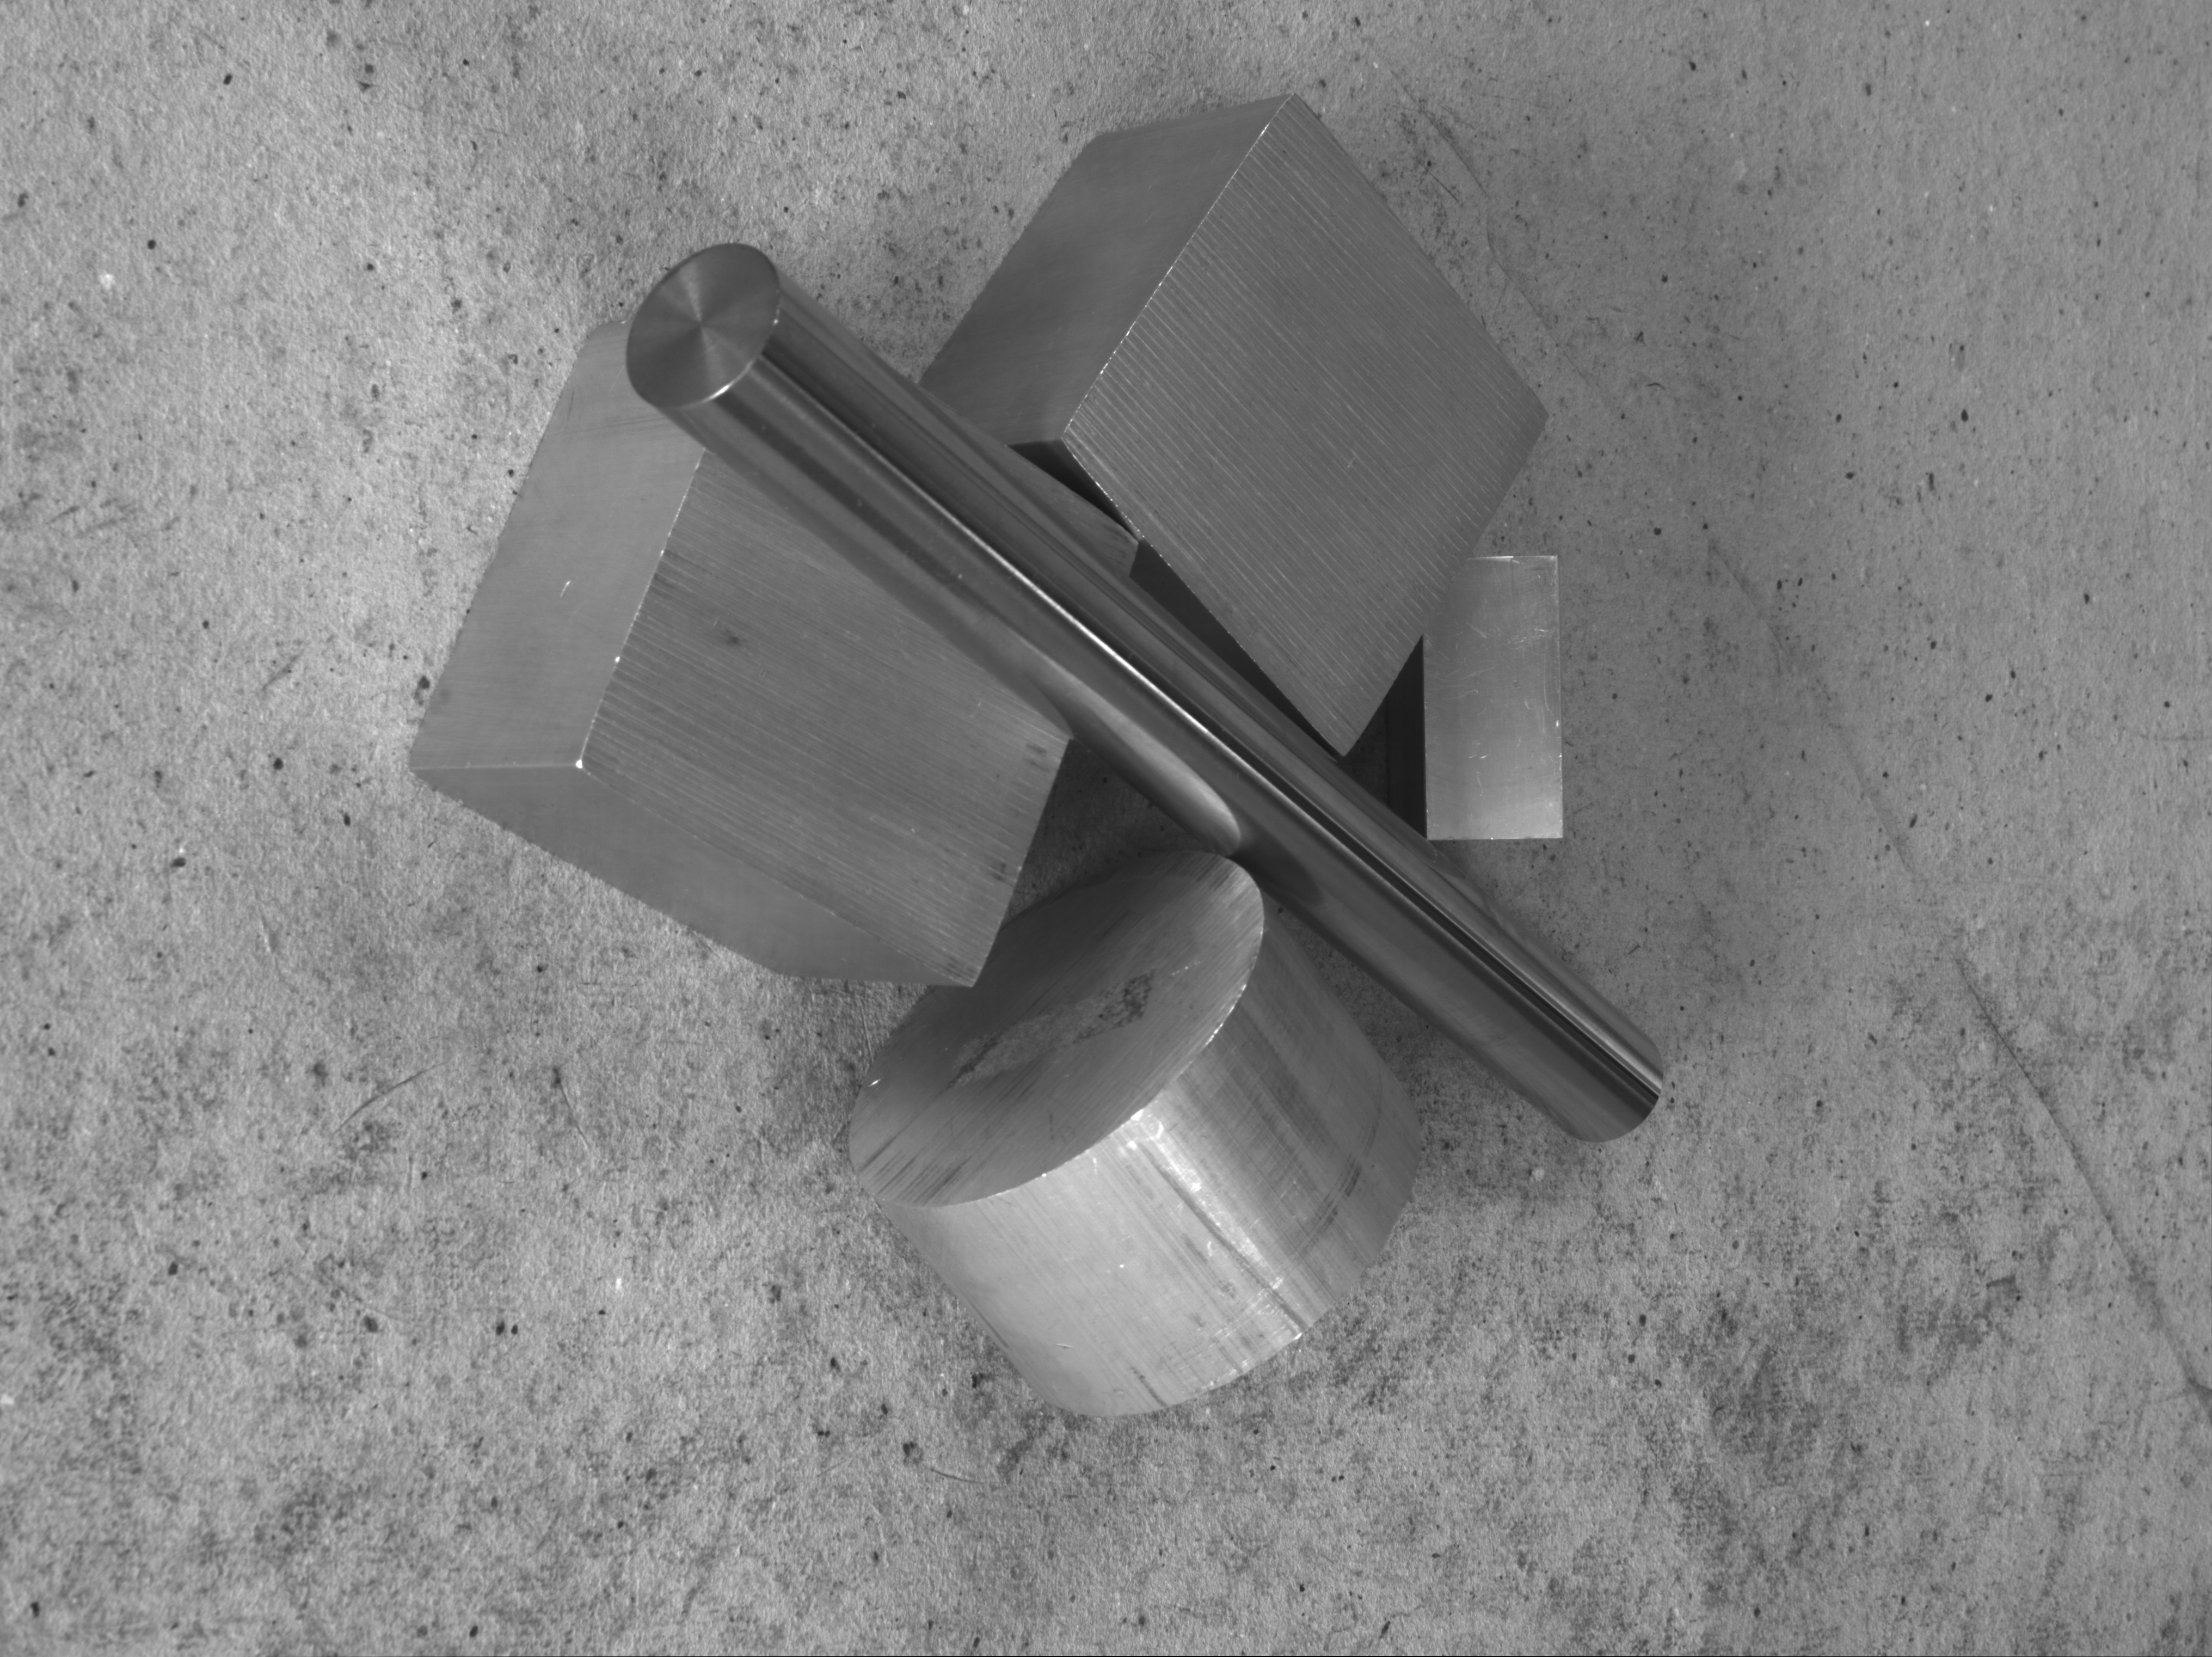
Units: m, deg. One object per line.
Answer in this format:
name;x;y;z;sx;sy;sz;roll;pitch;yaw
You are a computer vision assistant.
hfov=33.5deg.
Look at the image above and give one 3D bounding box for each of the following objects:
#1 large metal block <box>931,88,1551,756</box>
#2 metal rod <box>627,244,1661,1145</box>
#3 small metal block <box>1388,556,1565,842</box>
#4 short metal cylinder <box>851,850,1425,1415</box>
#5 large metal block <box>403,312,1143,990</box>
large metal block;0.019;-0.067;0.633;0.080;0.050;0.080;47;62;-30
metal rod;0.022;-0.008;0.601;0.301;0.025;0.025;38;66;-51
small metal block;0.067;-0.023;0.673;0.025;0.050;0.050;-1;91;-4
short metal cylinder;0.005;0.049;0.605;0.080;0.080;0.050;-51;120;-27
large metal block;-0.051;-0.028;0.578;0.080;0.050;0.080;31;71;-35
